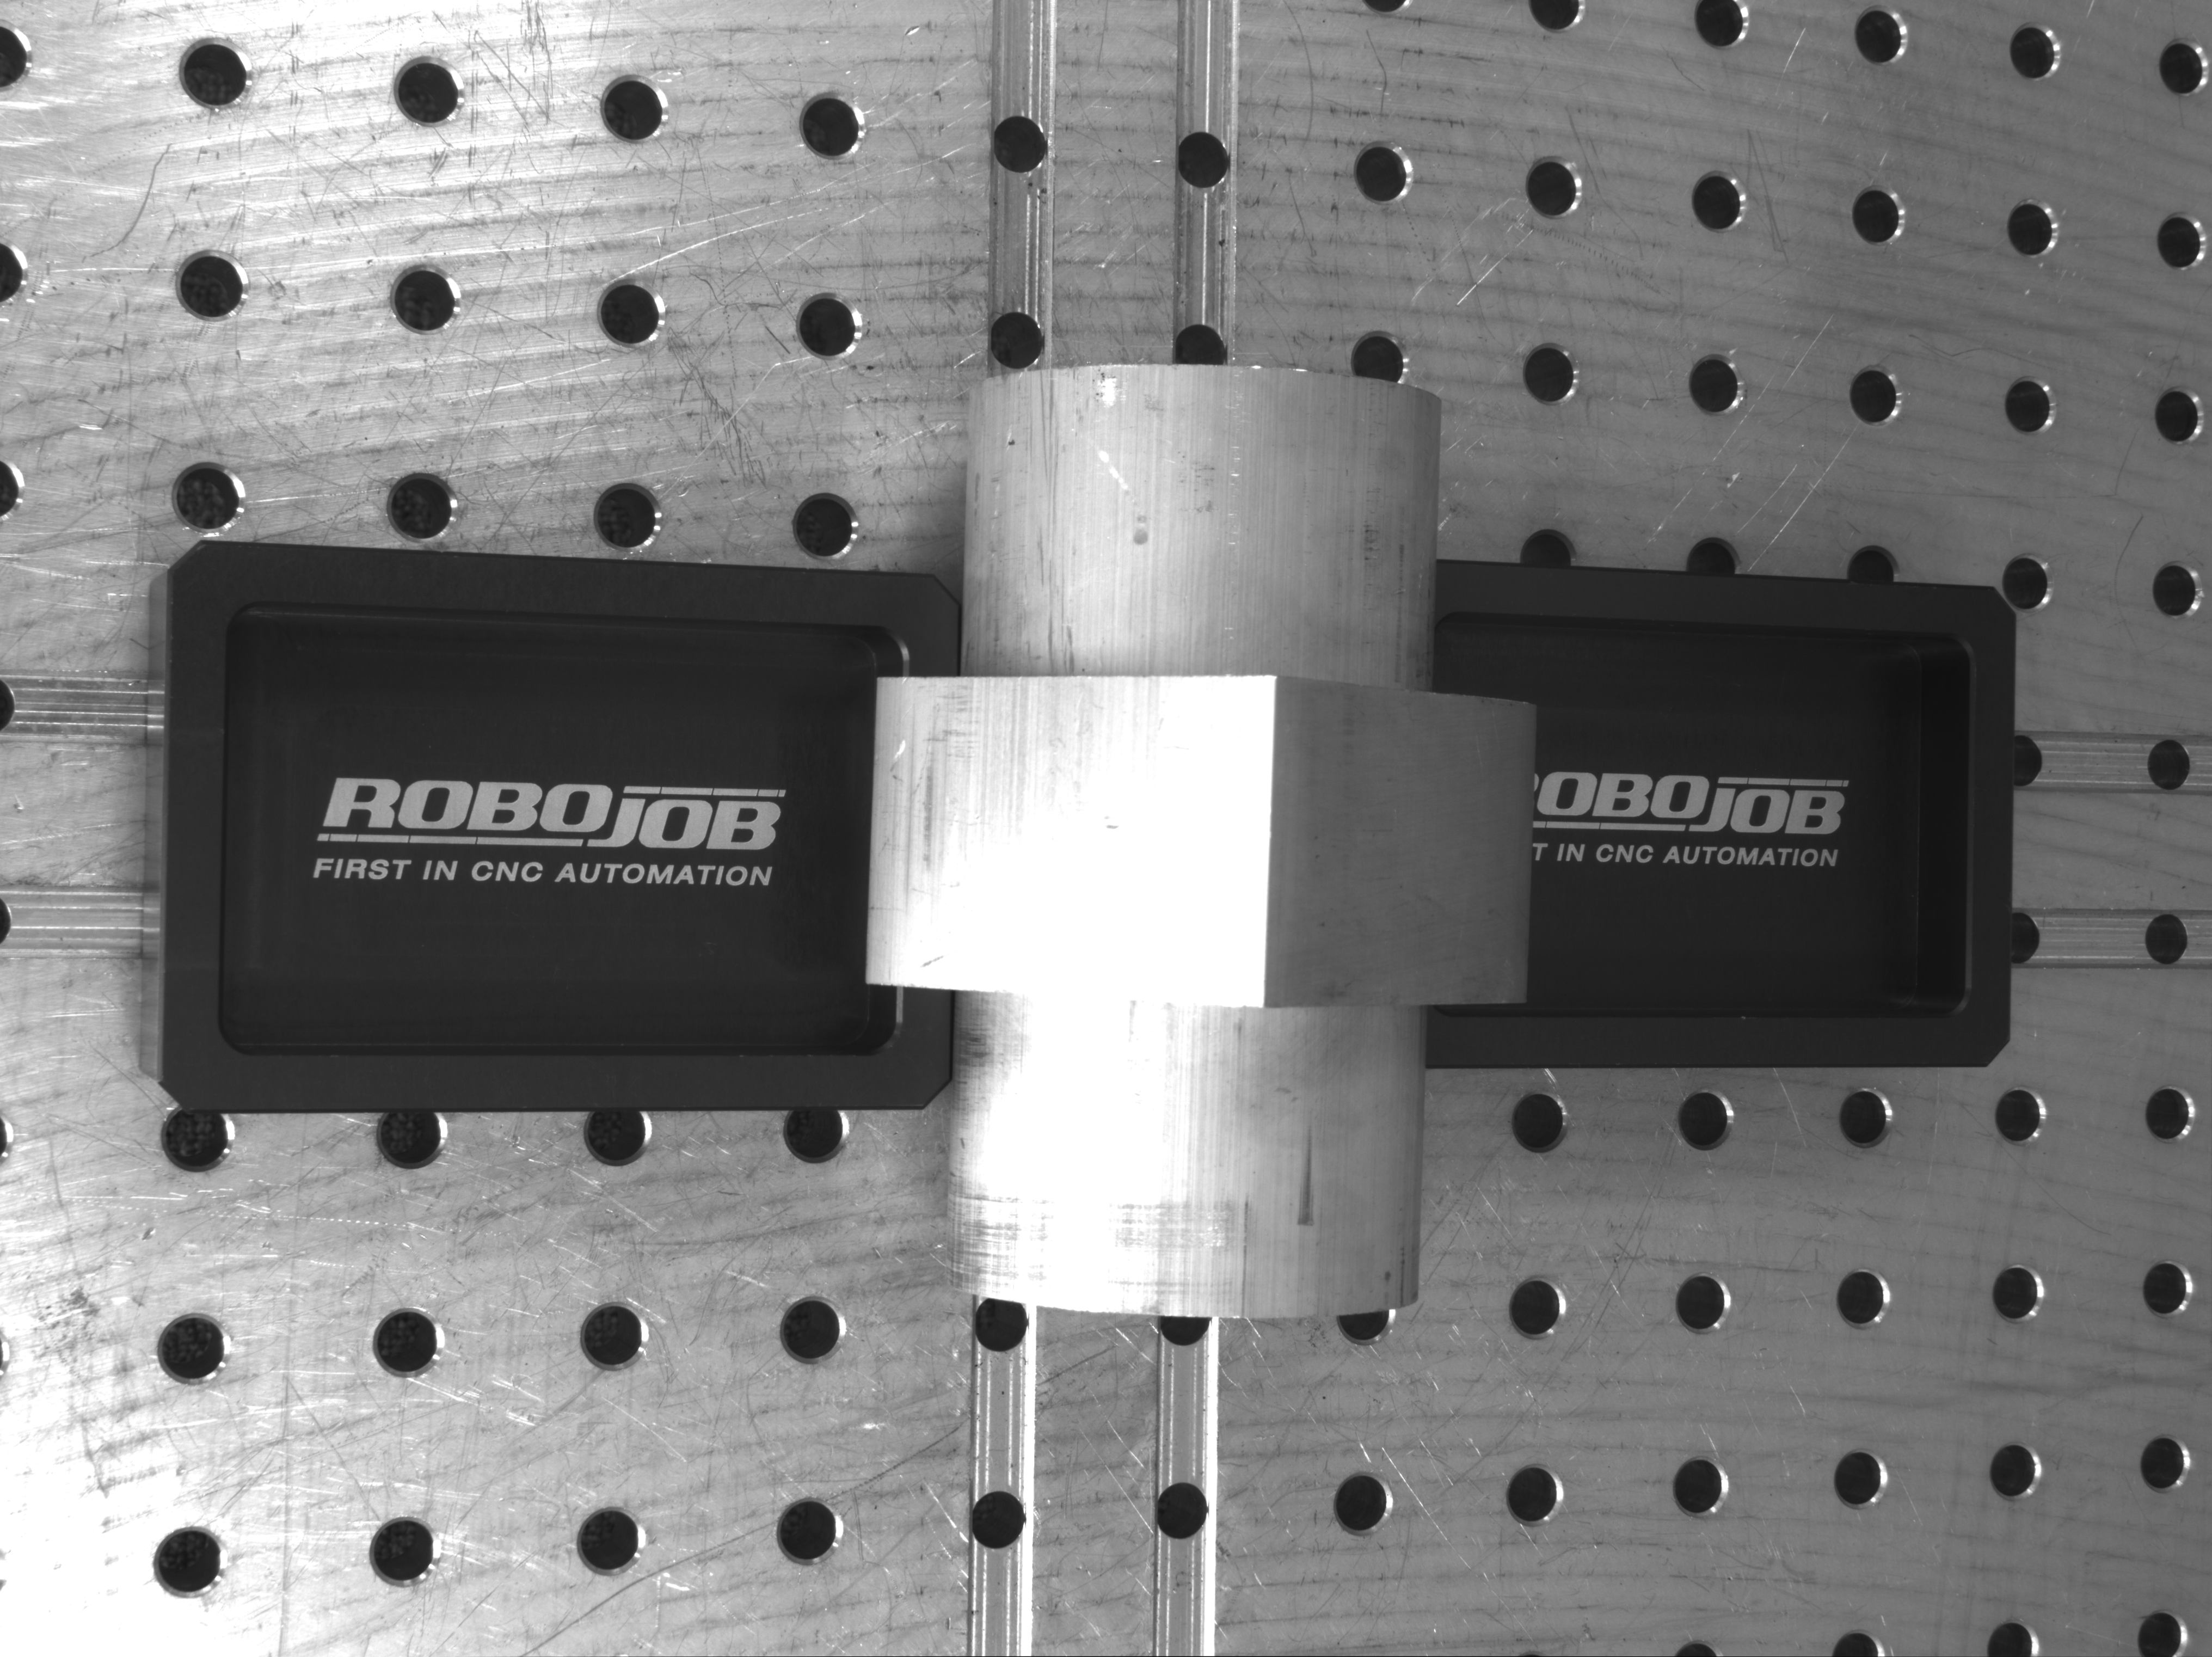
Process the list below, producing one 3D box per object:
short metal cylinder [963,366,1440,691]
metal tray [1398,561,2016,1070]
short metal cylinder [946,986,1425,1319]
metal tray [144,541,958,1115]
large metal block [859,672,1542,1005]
[{"bbox_3d":[0.016,-0.048,0.622,0.080,0.080,0.050,2,89,-20],"label":"short metal cylinder"},{"bbox_3d":[0.104,-0.001,0.681,0.130,0.030,0.090,1,90,-20],"label":"metal tray"},{"bbox_3d":[0.014,0.053,0.621,0.080,0.080,0.050,2,89,-20],"label":"short metal cylinder"},{"bbox_3d":[-0.091,0.001,0.610,0.130,0.030,0.090,1,90,-20],"label":"metal tray"},{"bbox_3d":[0.016,0.003,0.607,0.080,0.080,0.050,4,88,-54],"label":"large metal block"}]
